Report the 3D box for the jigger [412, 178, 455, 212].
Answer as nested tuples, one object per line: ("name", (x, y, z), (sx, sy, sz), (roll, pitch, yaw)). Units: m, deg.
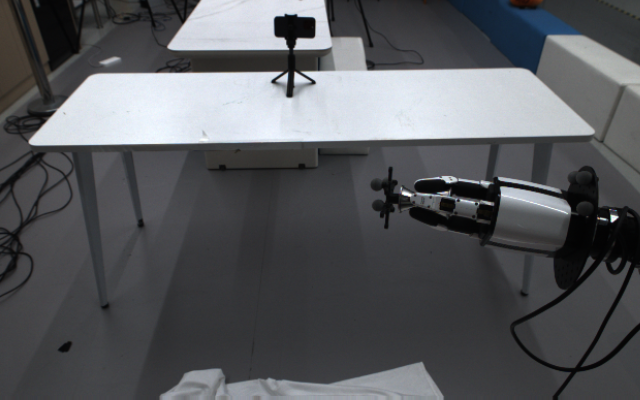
("jigger", (0.153, -0.003, 0.672), (0.071, 0.043, 0.043), (5, 34, 19))
